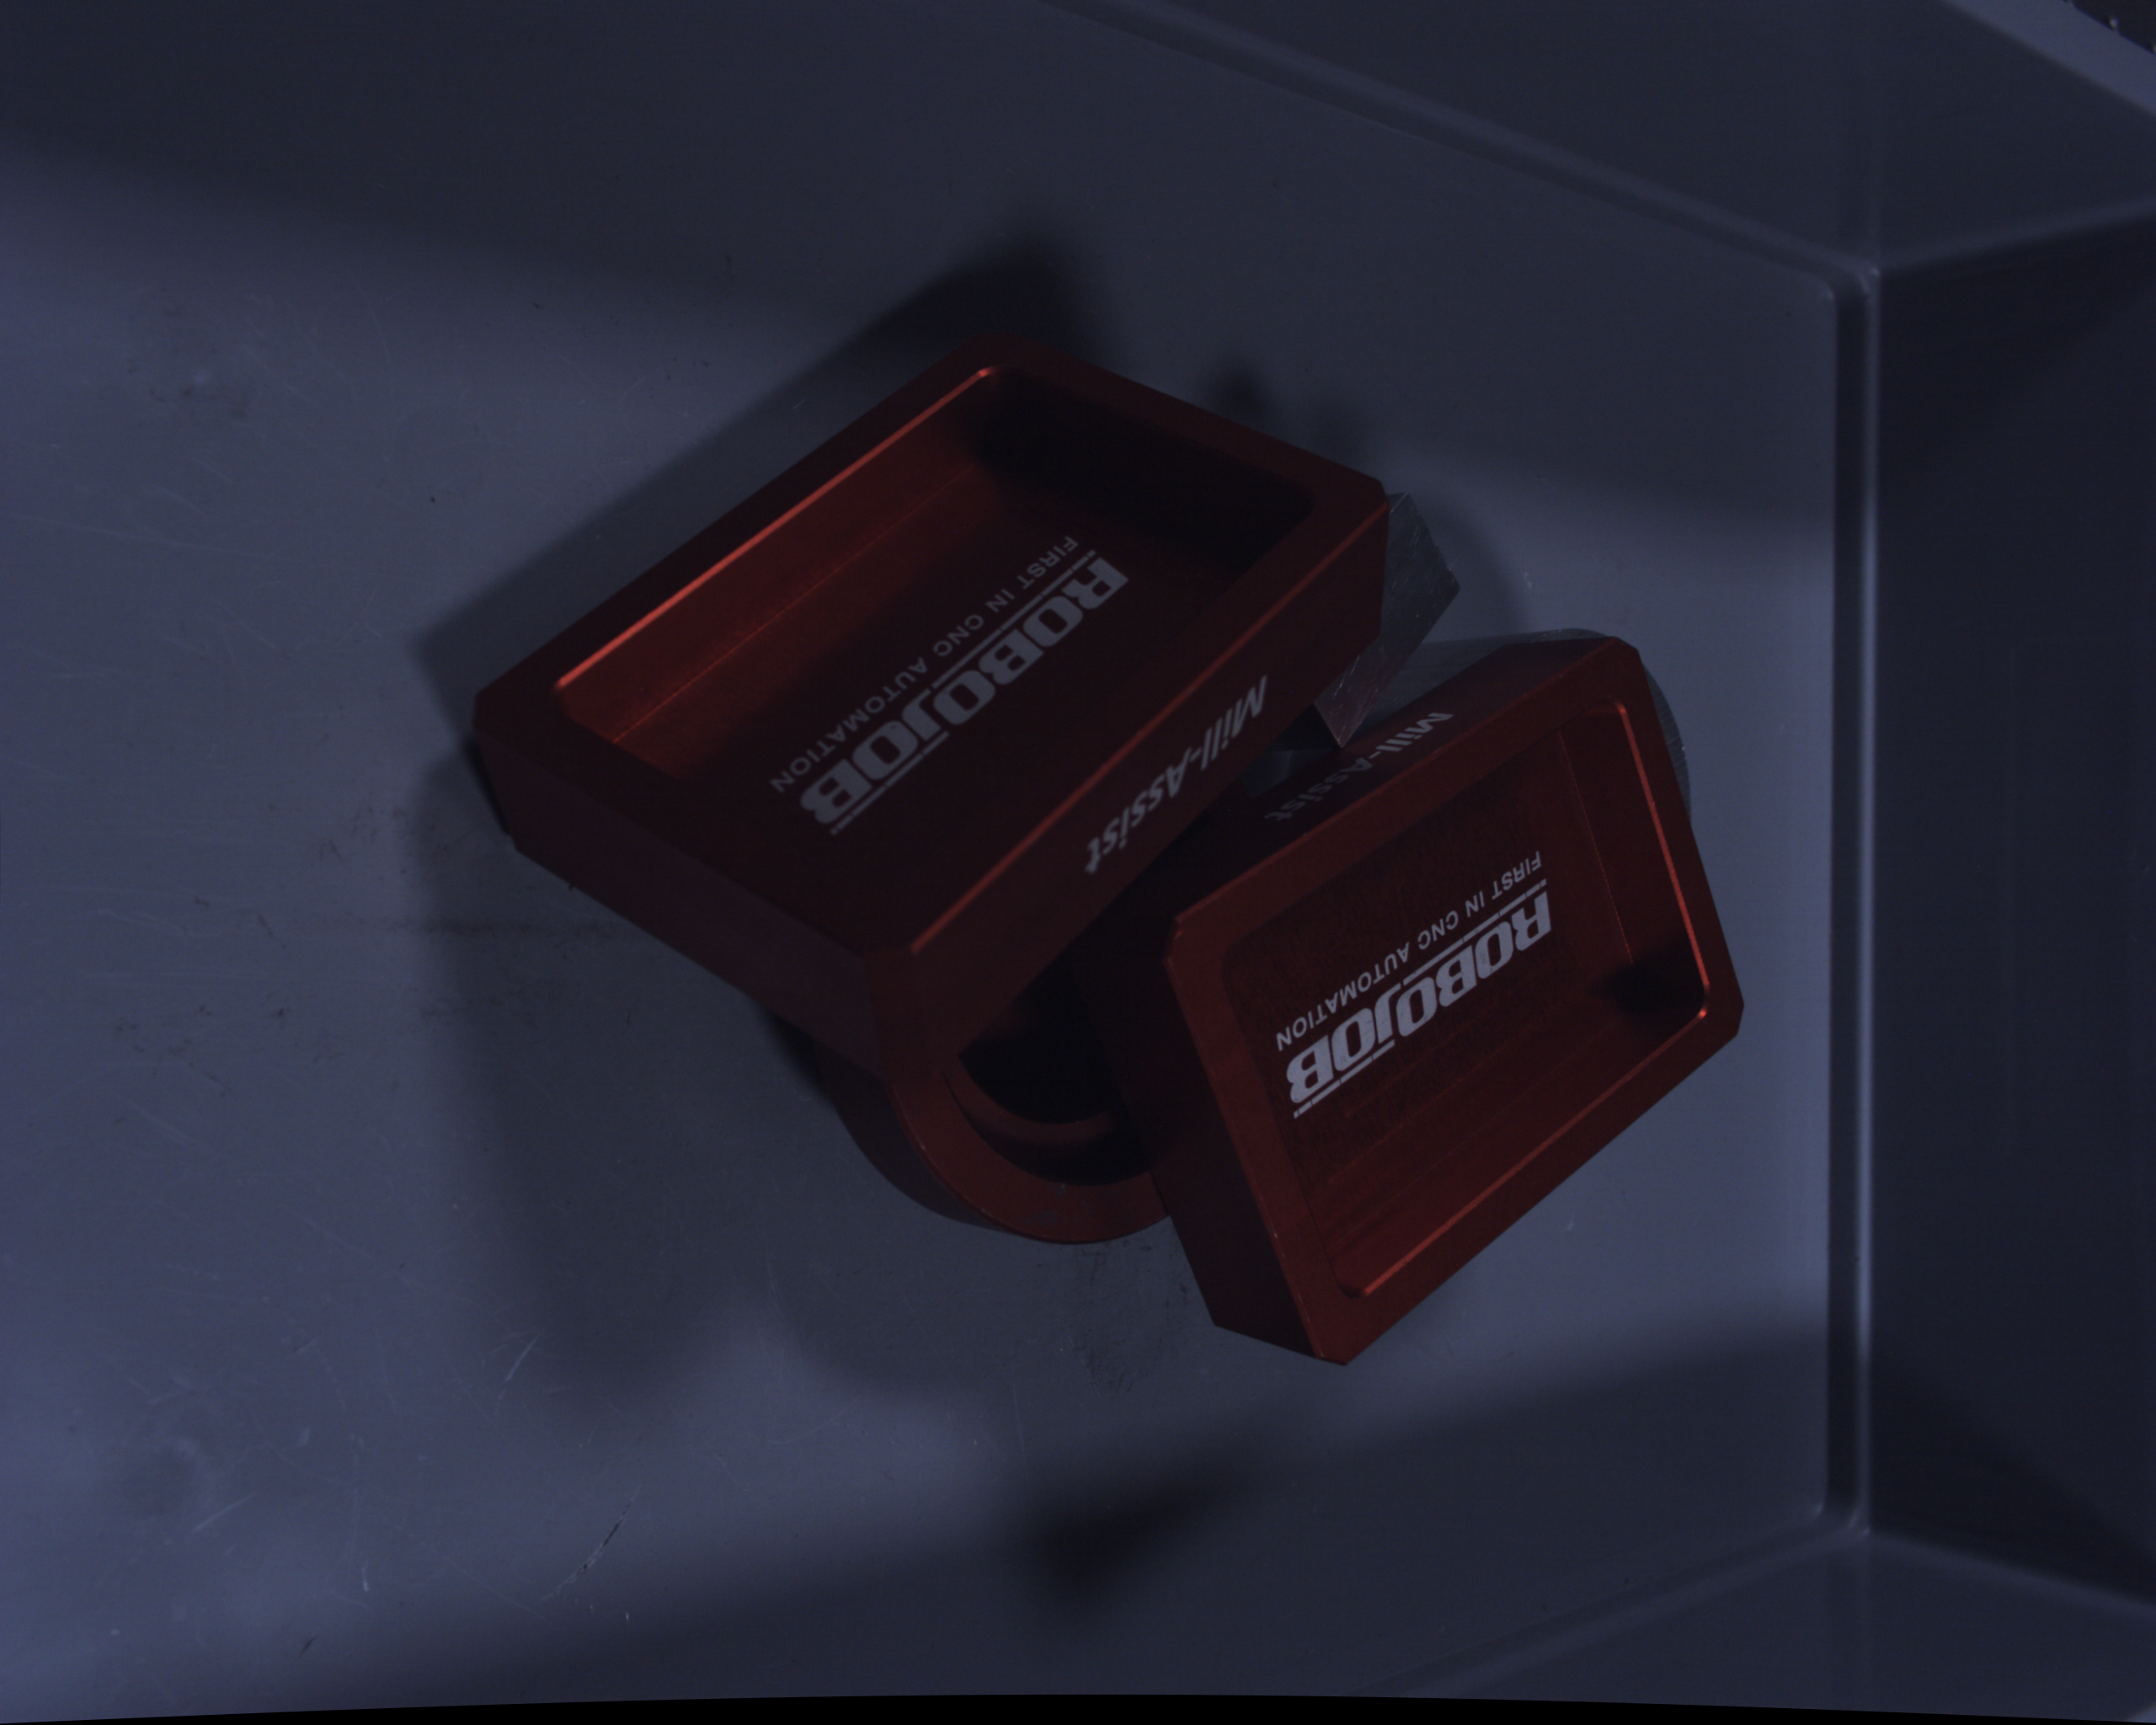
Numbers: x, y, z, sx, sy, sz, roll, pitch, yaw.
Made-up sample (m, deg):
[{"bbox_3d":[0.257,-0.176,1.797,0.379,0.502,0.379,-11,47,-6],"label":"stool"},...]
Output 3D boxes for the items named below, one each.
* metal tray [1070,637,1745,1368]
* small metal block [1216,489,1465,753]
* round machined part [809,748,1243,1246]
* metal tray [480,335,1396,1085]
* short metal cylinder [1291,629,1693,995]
[{"bbox_3d":[0.068,0.022,0.398,0.131,0.030,0.090,-31,109,-31],"label":"metal tray"},{"bbox_3d":[0.042,-0.048,0.425,0.050,0.050,0.025,-51,121,-29],"label":"small metal block"},{"bbox_3d":[-0.010,0.020,0.389,0.099,0.042,0.097,0,90,-40],"label":"round machined part"},{"bbox_3d":[-0.019,-0.033,0.346,0.131,0.090,0.030,-44,149,-32],"label":"metal tray"},{"bbox_3d":[0.093,-0.011,0.468,0.081,0.050,0.079,0,90,-40],"label":"short metal cylinder"}]
